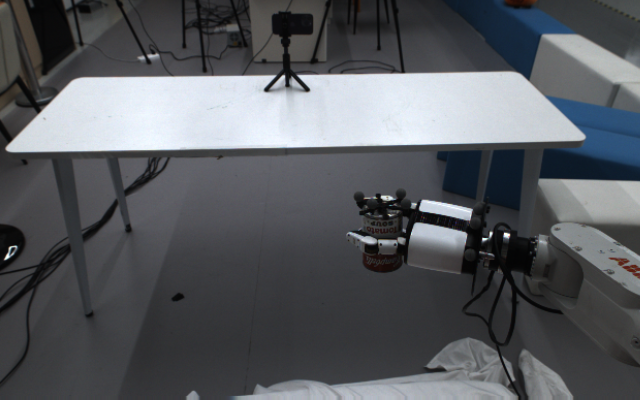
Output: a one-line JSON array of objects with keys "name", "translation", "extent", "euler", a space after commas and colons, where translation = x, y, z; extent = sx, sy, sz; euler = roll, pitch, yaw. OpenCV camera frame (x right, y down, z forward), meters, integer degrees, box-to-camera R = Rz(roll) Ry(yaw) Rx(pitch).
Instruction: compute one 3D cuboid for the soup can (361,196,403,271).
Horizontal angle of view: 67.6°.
[{"name": "soup can", "translation": [0.104, 0.058, 0.798], "extent": [0.067, 0.101, 0.067], "euler": [-4, 25, 2]}]
